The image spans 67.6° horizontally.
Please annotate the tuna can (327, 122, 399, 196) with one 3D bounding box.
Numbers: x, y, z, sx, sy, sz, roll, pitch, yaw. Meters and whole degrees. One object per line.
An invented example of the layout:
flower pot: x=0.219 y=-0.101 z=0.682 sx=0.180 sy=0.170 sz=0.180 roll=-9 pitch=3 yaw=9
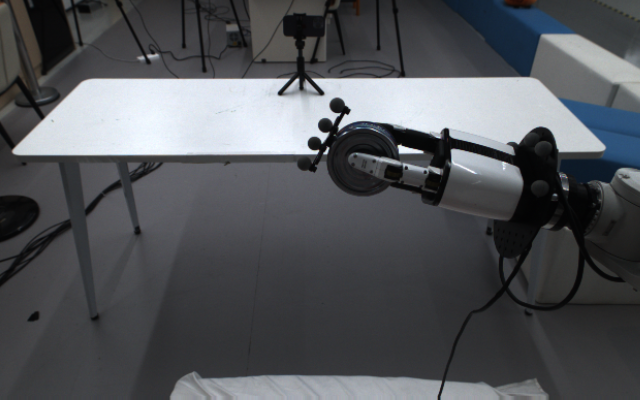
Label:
tuna can: x=0.054 y=-0.051 z=0.578 sx=0.085 sy=0.085 sz=0.034 roll=3 pitch=20 yaw=1
